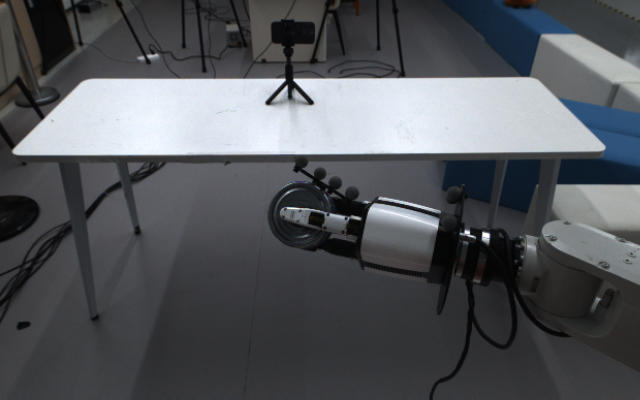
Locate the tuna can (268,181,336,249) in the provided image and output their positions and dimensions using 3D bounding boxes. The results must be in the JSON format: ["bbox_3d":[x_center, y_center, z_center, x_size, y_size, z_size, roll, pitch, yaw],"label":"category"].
[{"bbox_3d":[-0.019,0.026,0.619,0.085,0.085,0.034,13,-4,15],"label":"tuna can"}]
